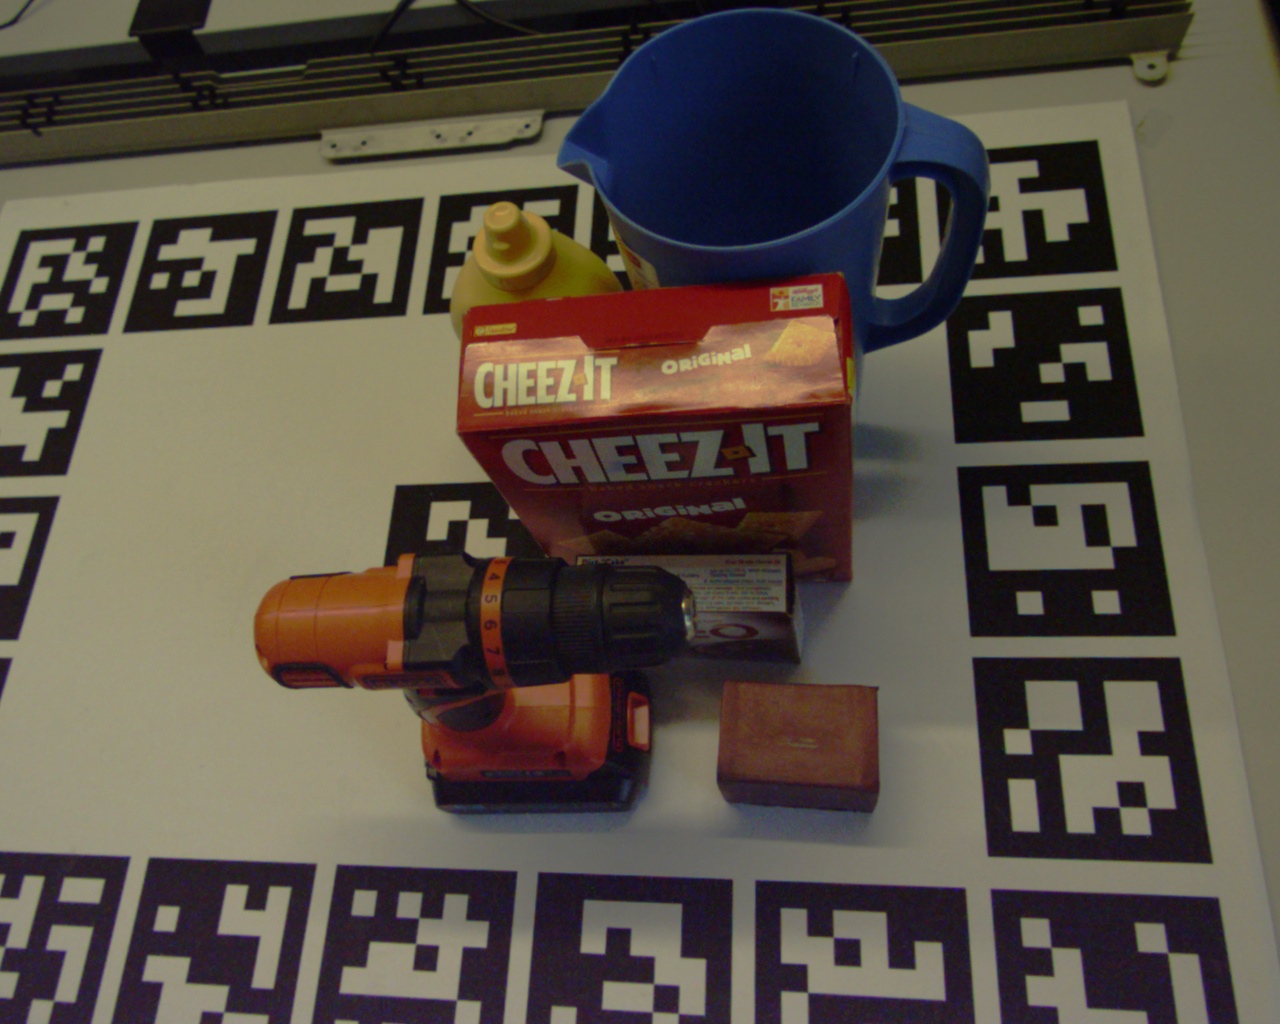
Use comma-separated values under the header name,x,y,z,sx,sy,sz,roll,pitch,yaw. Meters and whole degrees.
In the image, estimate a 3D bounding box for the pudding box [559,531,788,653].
name,x,y,z,sx,sy,sz,roll,pitch,yaw
pudding box,0.020,0.045,0.617,0.114,0.089,0.039,-2,65,14

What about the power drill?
name,x,y,z,sx,sy,sz,roll,pitch,yaw
power drill,-0.056,0.077,0.543,0.185,0.185,0.057,-3,63,9

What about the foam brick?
name,x,y,z,sx,sy,sz,roll,pitch,yaw
foam brick,0.079,0.115,0.609,0.078,0.051,0.053,0,69,12

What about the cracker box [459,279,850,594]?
name,x,y,z,sx,sy,sz,roll,pitch,yaw
cracker box,0.020,-0.021,0.587,0.165,0.212,0.072,-5,64,12

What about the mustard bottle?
name,x,y,z,sx,sy,sz,roll,pitch,yaw
mustard bottle,-0.060,-0.109,0.649,0.097,0.190,0.058,11,70,15

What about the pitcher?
name,x,y,z,sx,sy,sz,roll,pitch,yaw
pitcher,0.069,-0.119,0.613,0.190,0.240,0.133,3,68,15
